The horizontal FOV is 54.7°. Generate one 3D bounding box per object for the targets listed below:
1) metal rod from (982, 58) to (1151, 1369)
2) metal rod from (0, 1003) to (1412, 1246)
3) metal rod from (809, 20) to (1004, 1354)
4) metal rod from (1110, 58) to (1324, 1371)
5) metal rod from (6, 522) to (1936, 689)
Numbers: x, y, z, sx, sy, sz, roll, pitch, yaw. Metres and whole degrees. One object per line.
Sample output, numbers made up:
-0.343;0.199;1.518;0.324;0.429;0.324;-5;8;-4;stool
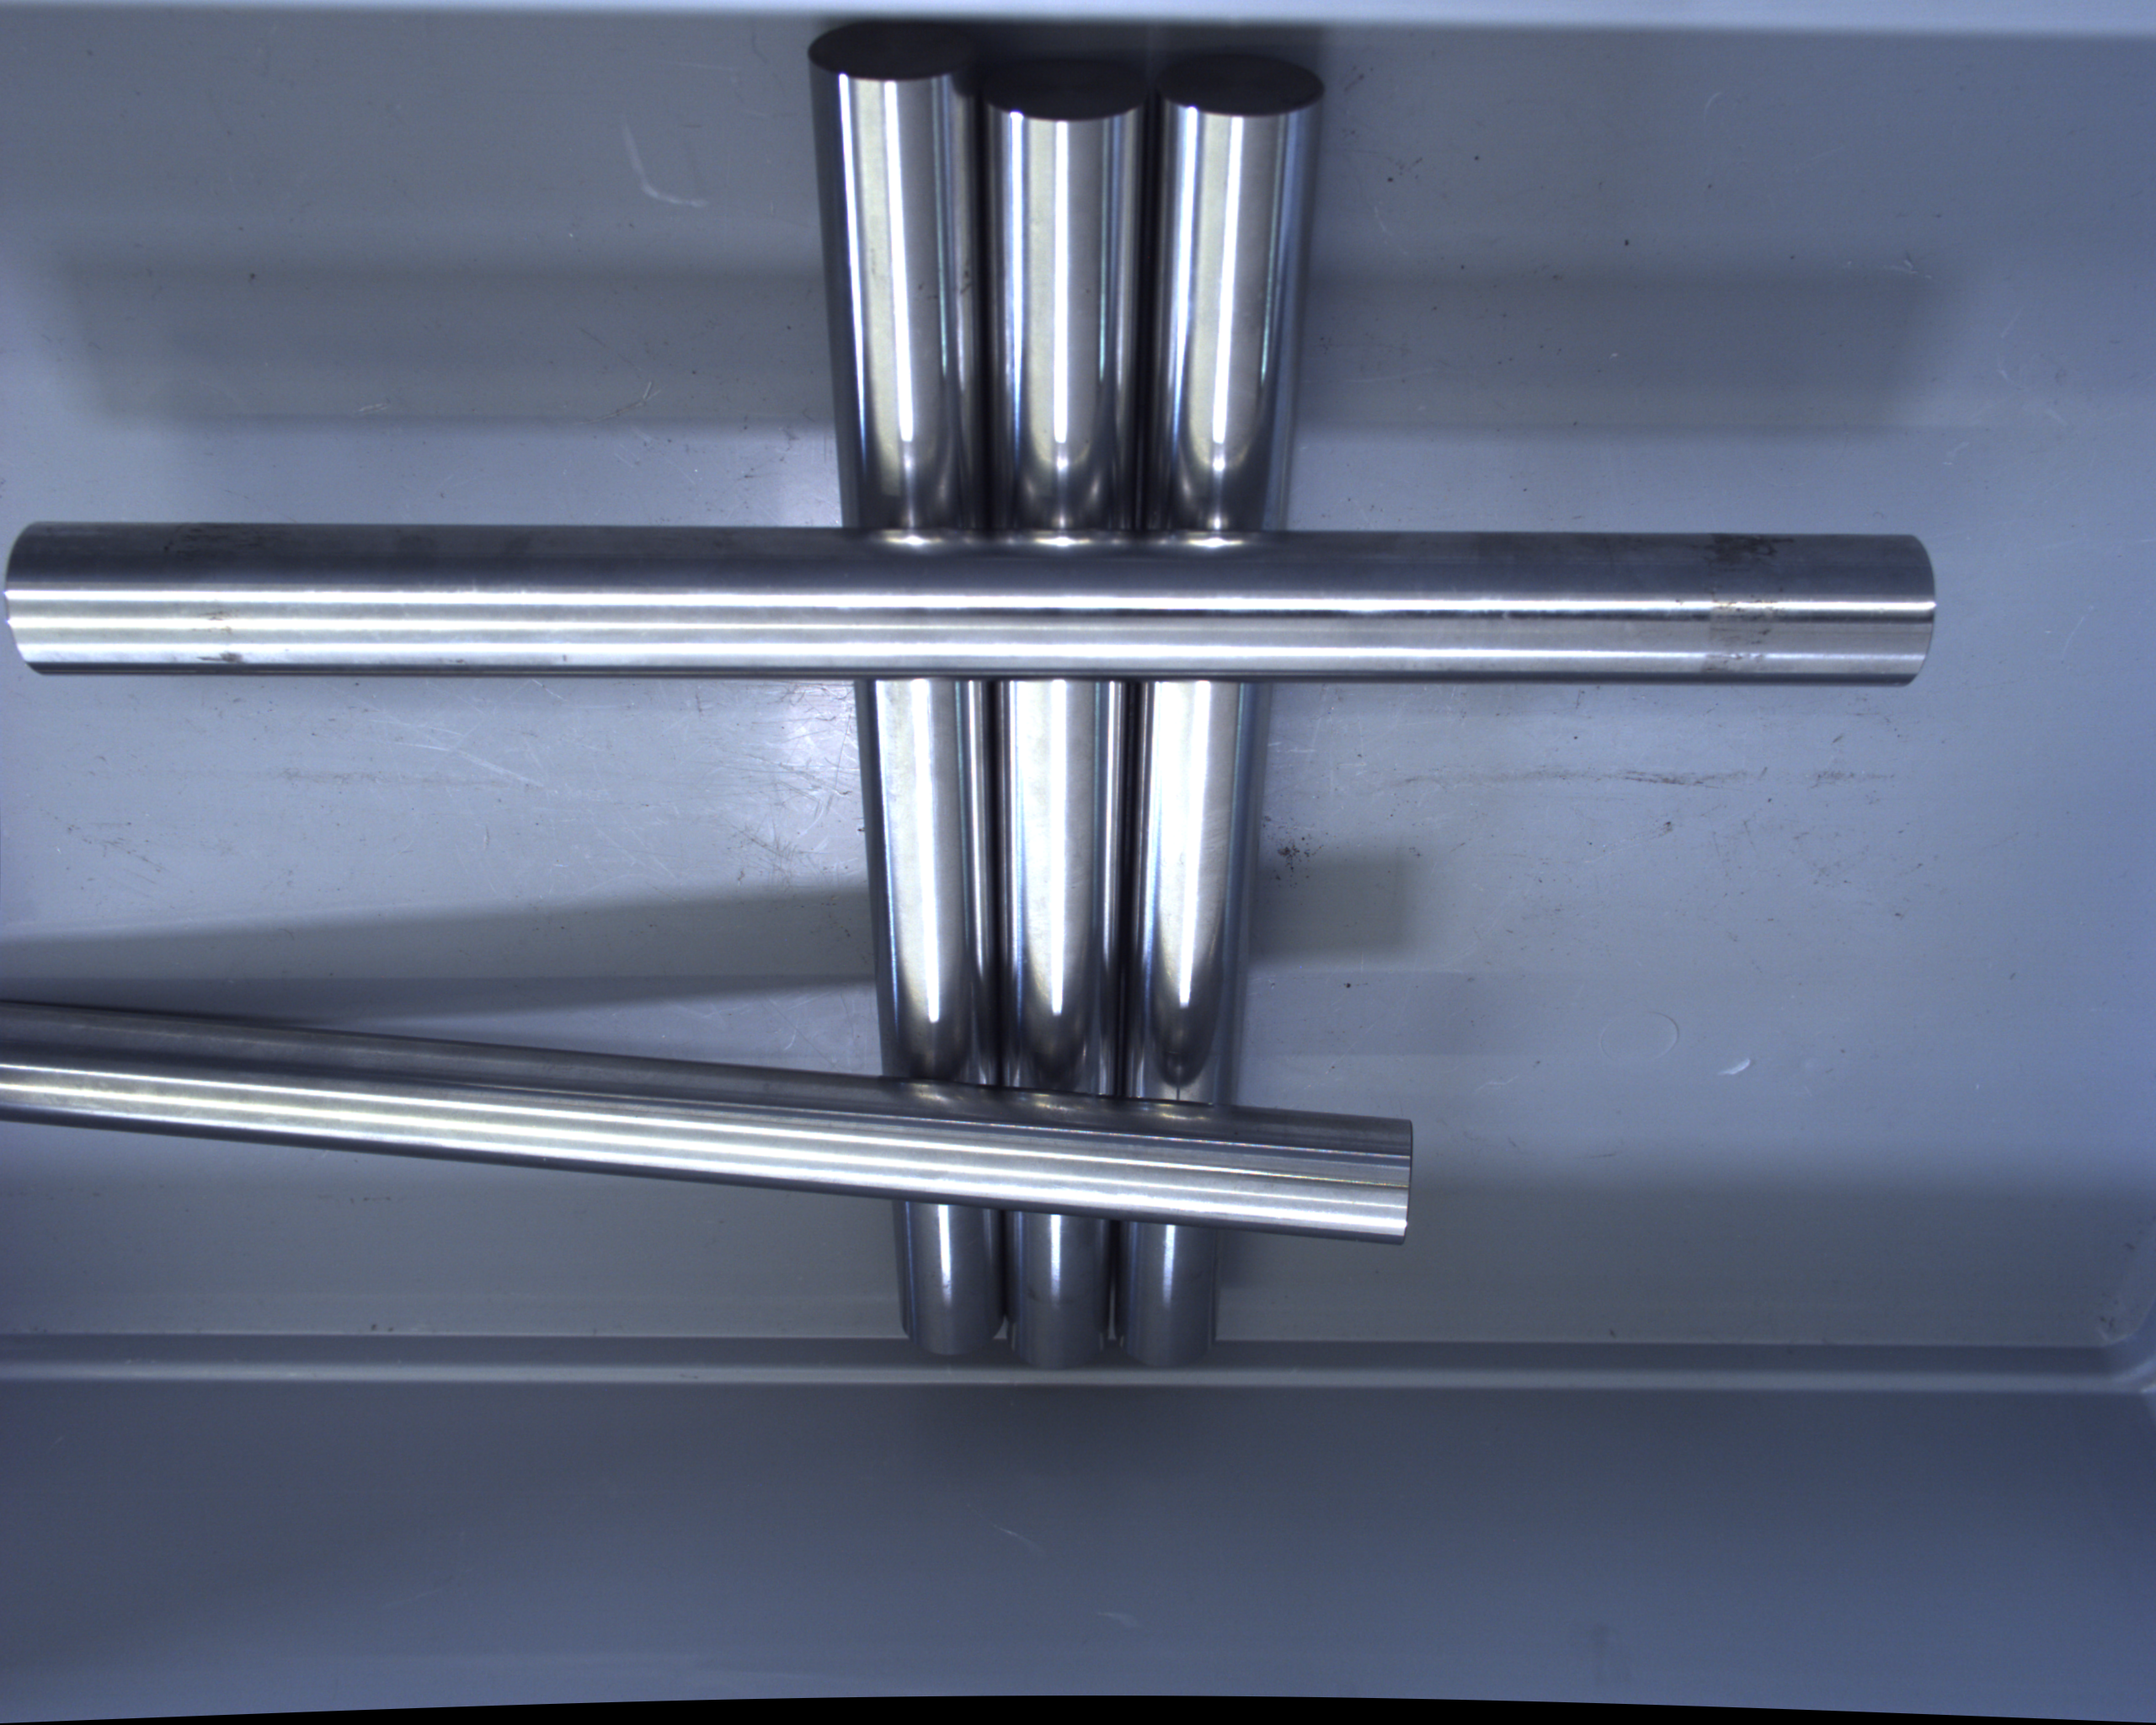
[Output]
-0.004;-0.002;0.406;0.025;0.025;0.298;0;130;-1;metal rod
-0.085;0.053;0.428;0.302;0.025;0.025;4;130;5;metal rod
-0.028;-0.006;0.403;0.025;0.025;0.298;0;130;-1;metal rod
0.022;-0.001;0.406;0.025;0.025;0.298;0;130;-1;metal rod
-0.016;-0.042;0.339;0.302;0.025;0.025;0;130;-1;metal rod
